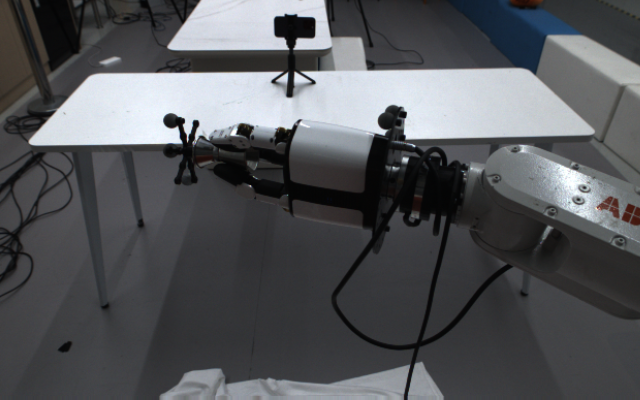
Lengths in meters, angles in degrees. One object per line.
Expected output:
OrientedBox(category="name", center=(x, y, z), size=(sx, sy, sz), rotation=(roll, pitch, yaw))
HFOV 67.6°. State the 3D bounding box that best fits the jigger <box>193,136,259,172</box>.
OrientedBox(category="jigger", center=(-0.107, -0.059, 0.578), size=(0.071, 0.043, 0.043), rotation=(3, 34, 12))
